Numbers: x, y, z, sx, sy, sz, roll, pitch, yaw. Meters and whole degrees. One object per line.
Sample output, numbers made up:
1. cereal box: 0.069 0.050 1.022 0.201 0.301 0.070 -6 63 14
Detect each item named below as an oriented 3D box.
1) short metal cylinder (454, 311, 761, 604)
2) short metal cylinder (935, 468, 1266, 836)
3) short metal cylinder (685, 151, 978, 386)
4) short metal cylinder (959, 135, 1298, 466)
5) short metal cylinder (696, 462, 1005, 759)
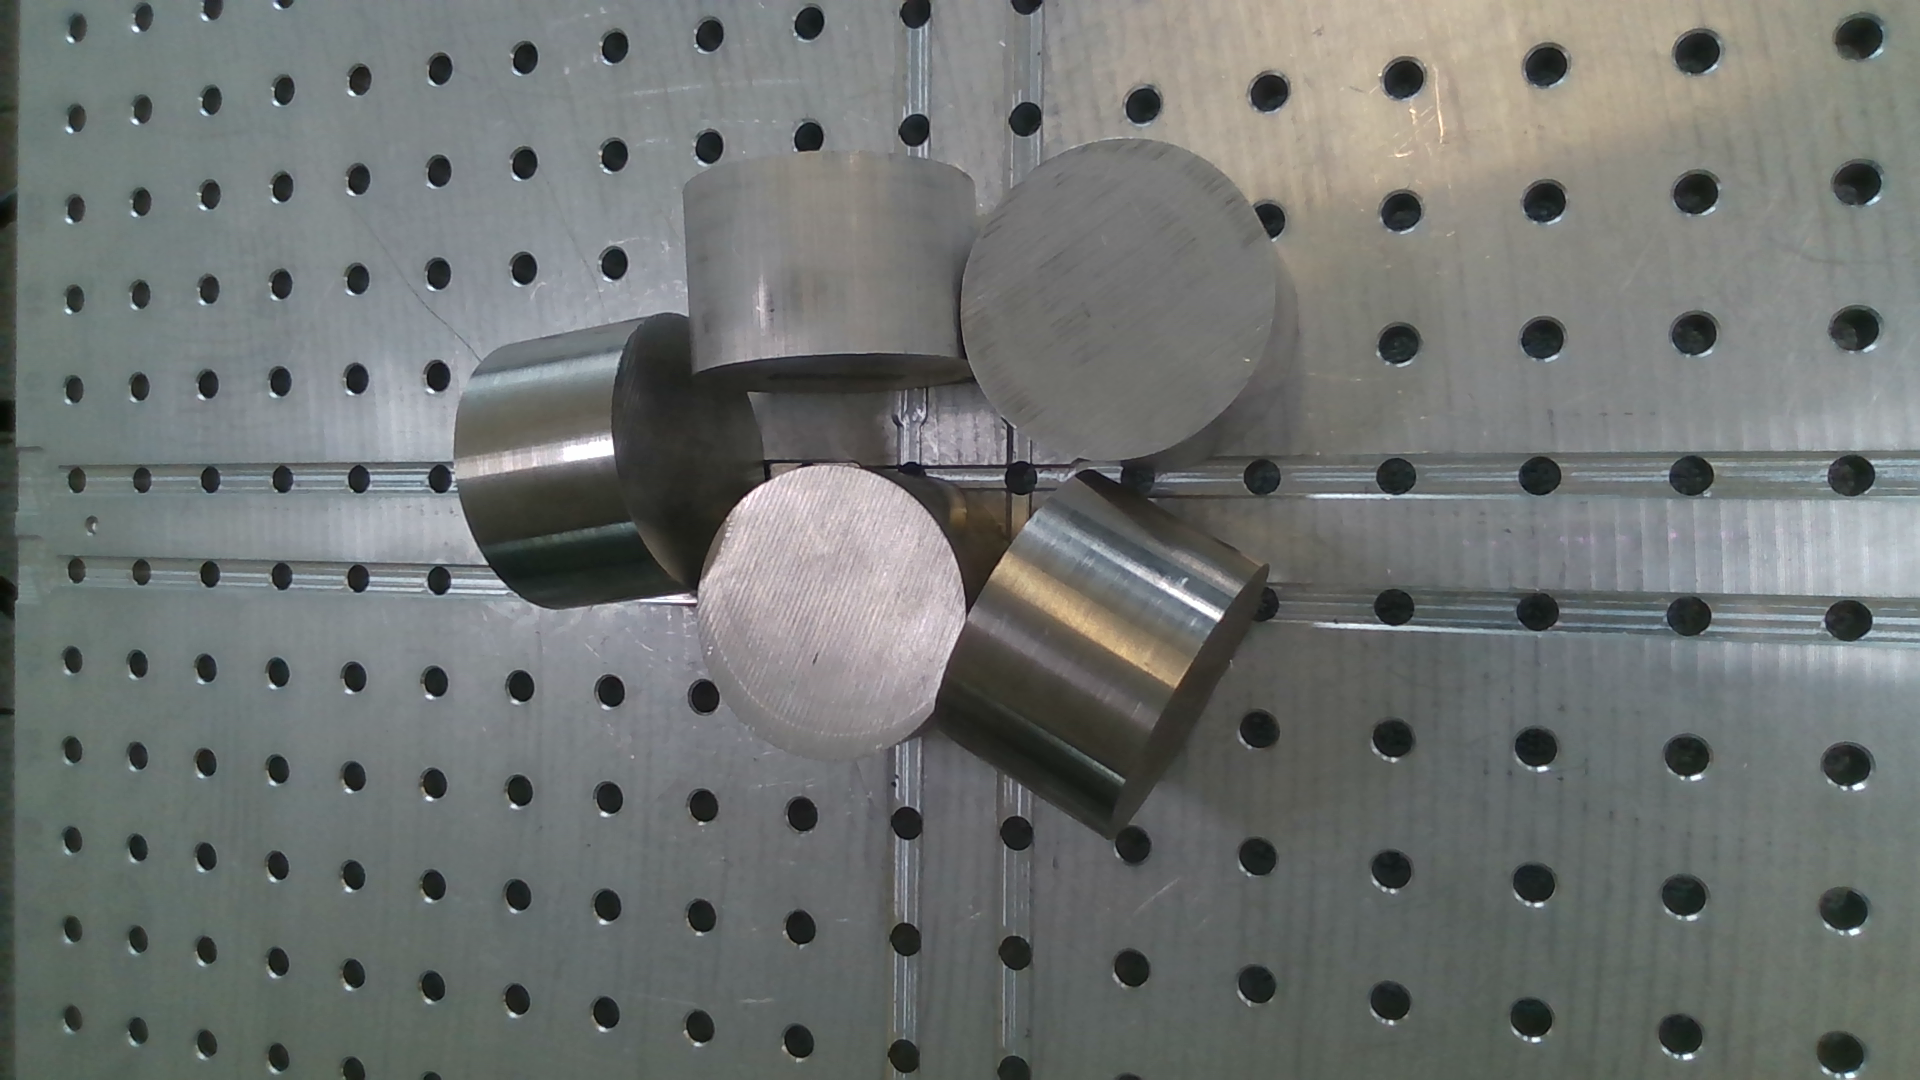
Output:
1. short metal cylinder: -0.100 -0.023 0.403 0.050 0.080 0.080 -7 88 20
2. short metal cylinder: 0.037 0.028 0.354 0.050 0.080 0.080 30 100 17
3. short metal cylinder: -0.034 -0.071 0.380 0.080 0.080 0.050 -3 90 20
4. short metal cylinder: 0.046 -0.060 0.365 0.080 0.050 0.080 0 89 20
5. short metal cylinder: -0.028 0.019 0.393 0.080 0.050 0.080 0 91 21
